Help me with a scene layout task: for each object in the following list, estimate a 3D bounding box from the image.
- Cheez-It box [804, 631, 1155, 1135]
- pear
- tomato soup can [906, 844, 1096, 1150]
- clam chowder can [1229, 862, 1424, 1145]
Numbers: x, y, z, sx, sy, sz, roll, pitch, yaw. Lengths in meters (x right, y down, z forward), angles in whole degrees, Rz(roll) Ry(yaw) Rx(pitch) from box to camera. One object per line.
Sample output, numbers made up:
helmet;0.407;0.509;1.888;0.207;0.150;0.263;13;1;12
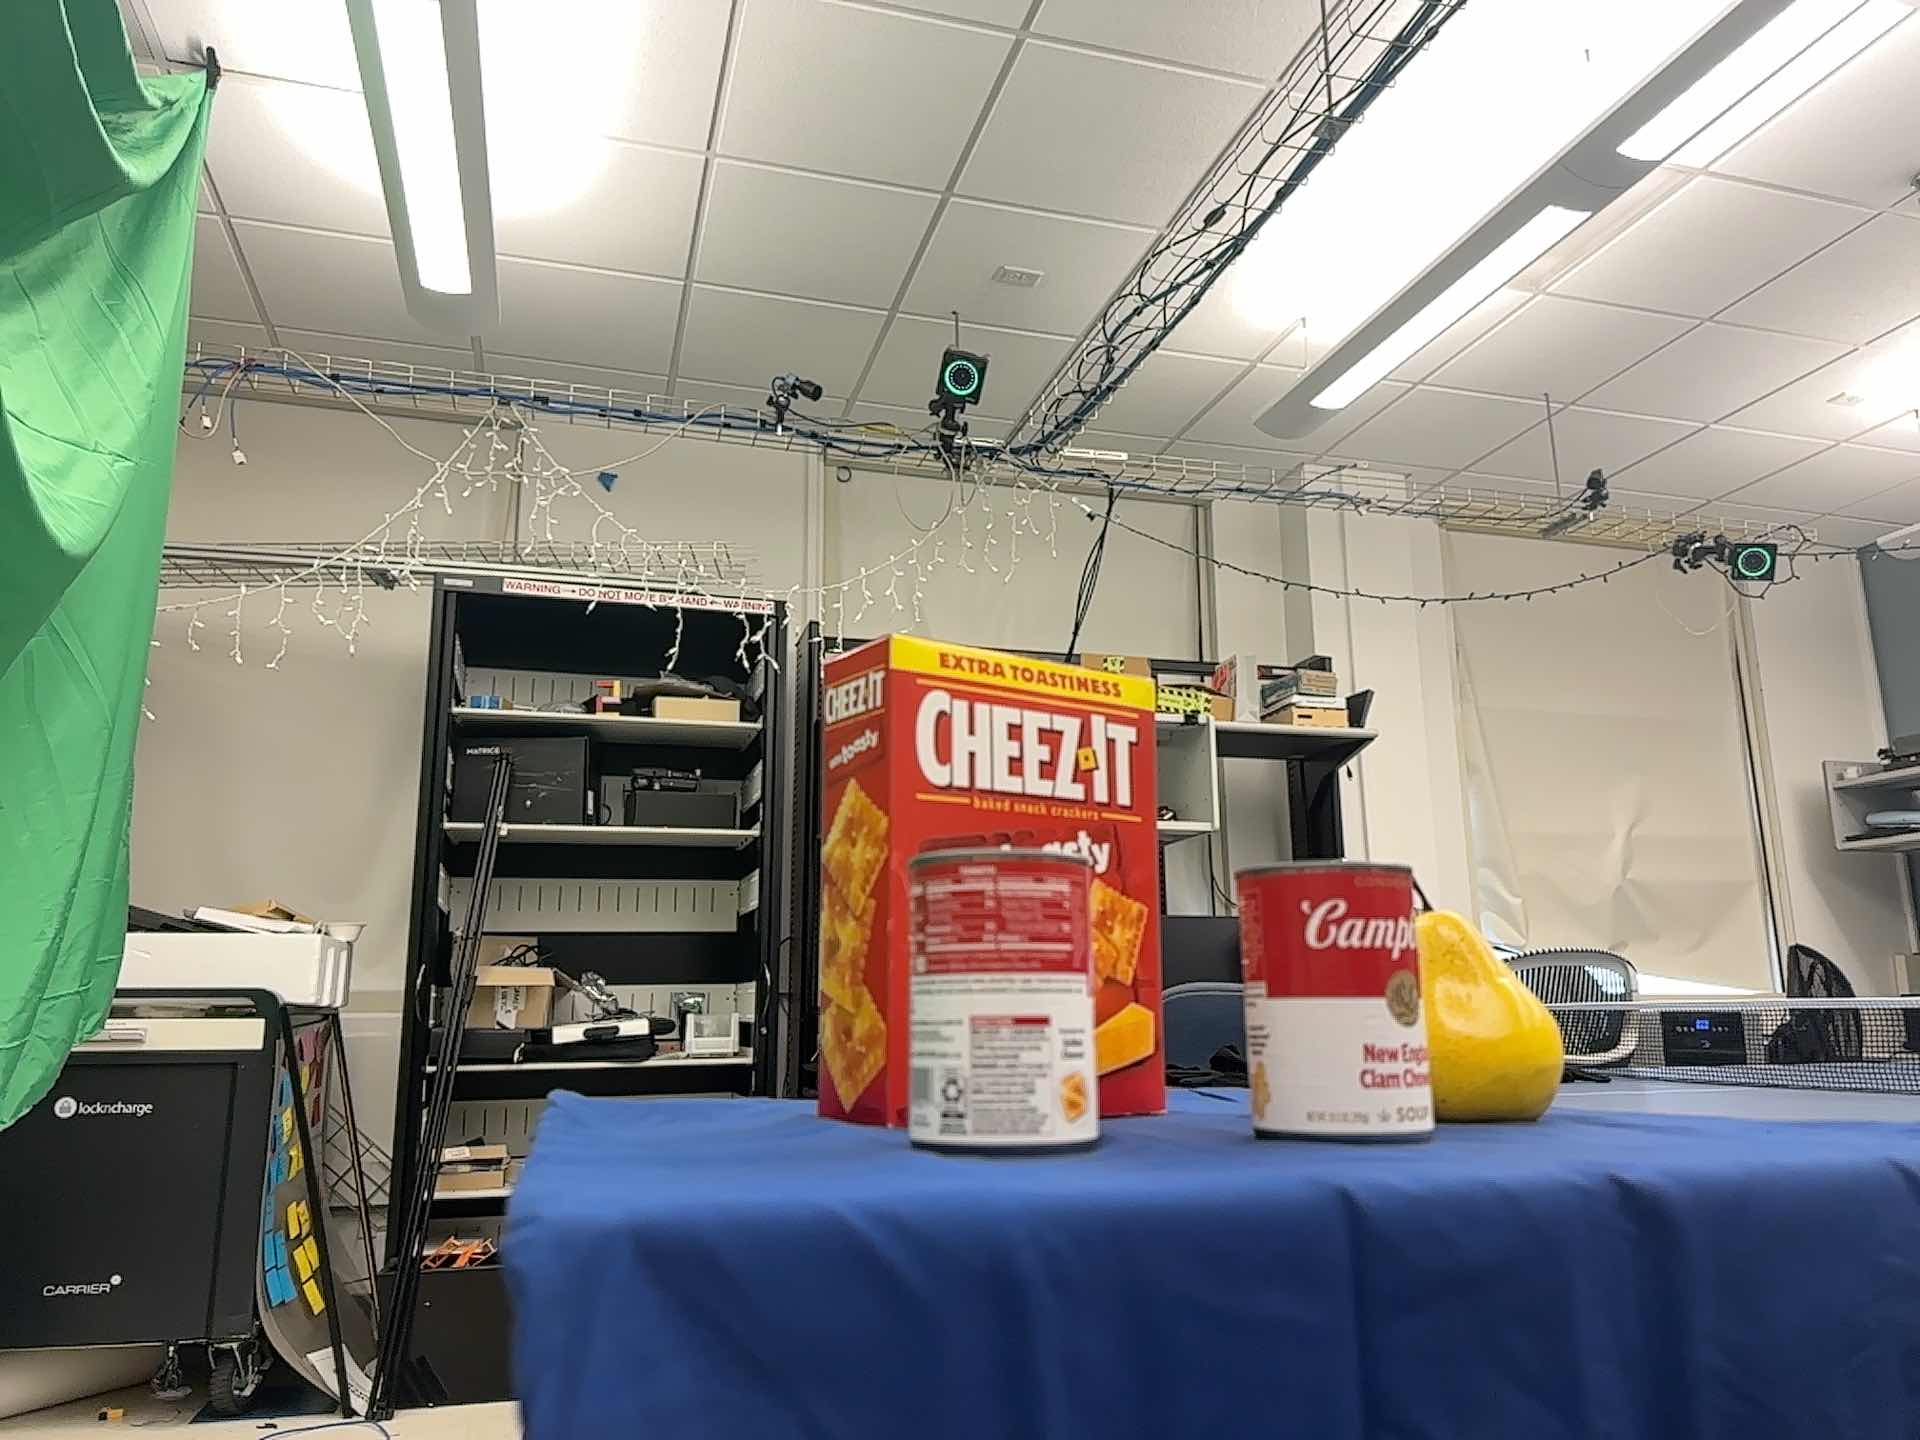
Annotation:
Cheez-It box;0.012;0.079;0.648;0.159;0.214;0.062;8;-13;-33
pear;0.221;0.124;0.603;0.080;0.111;0.080;2;-12;0
tomato soup can;0.015;0.099;0.482;0.067;0.102;0.067;-1;-13;0
clam chowder can;0.142;0.109;0.525;0.068;0.102;0.068;0;-12;0
